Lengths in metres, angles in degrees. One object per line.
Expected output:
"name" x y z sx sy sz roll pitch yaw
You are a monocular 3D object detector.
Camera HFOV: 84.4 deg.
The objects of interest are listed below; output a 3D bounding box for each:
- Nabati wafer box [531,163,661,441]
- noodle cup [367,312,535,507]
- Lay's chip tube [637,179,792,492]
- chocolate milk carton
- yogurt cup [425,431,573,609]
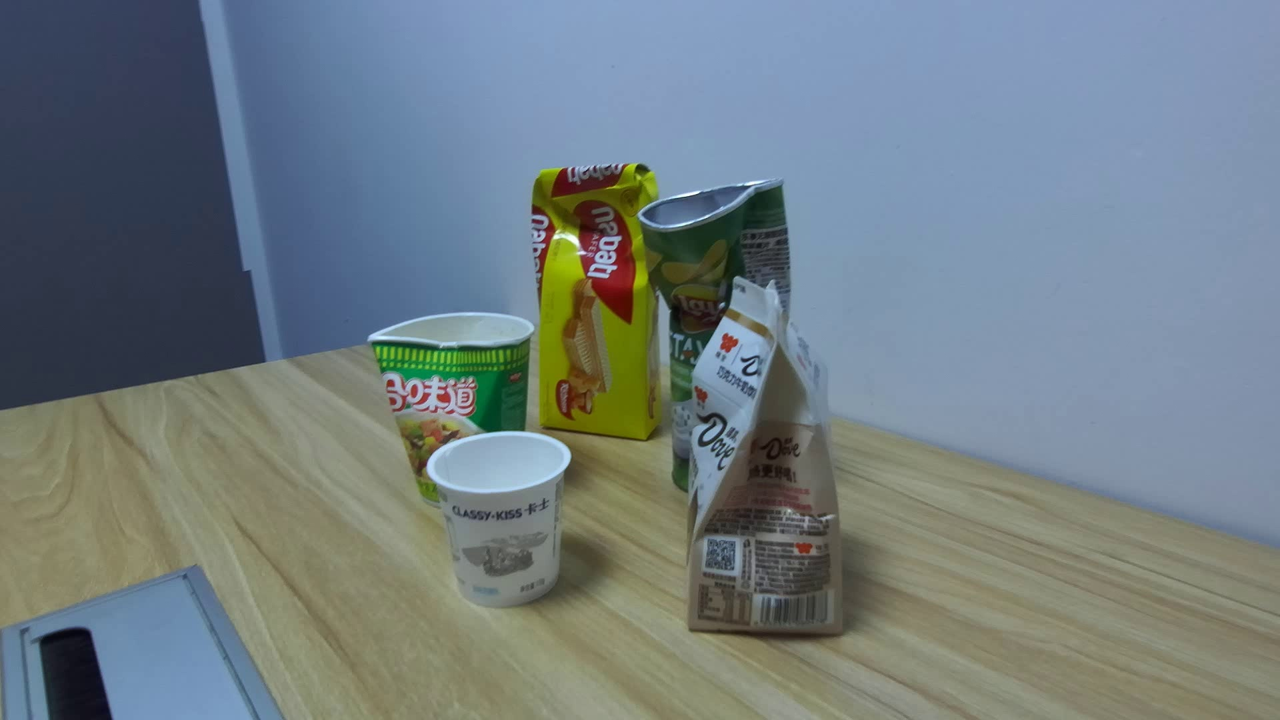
"Nabati wafer box" -0.033 -0.043 0.547 0.113 0.205 0.043 4 15 21
"noodle cup" -0.112 0.032 0.465 0.093 0.109 0.087 10 20 30
"Lay's chip tube" 0.048 -0.008 0.443 0.078 0.199 0.071 5 23 27
"chocolate milk carton" 0.058 0.043 0.336 0.073 0.155 0.084 1 16 5
"yogurt cup" -0.070 0.082 0.363 0.072 0.068 0.072 0 17 0
